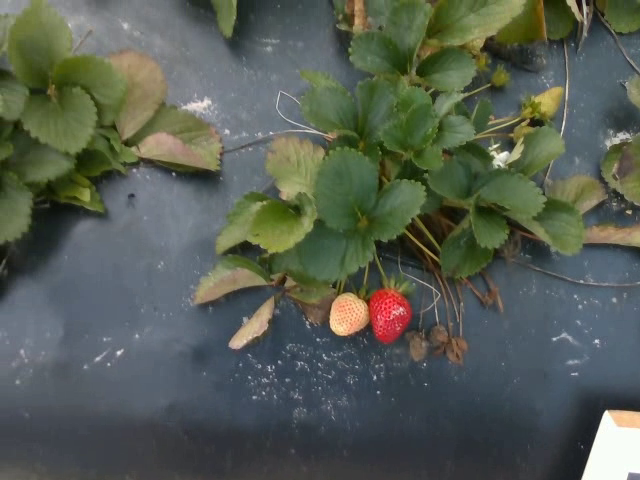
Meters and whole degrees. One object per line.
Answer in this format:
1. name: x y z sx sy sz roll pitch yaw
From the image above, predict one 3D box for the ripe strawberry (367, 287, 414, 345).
1. ripe strawberry: 0.046 0.052 0.433 0.034 0.042 0.033 35 -40 -11
